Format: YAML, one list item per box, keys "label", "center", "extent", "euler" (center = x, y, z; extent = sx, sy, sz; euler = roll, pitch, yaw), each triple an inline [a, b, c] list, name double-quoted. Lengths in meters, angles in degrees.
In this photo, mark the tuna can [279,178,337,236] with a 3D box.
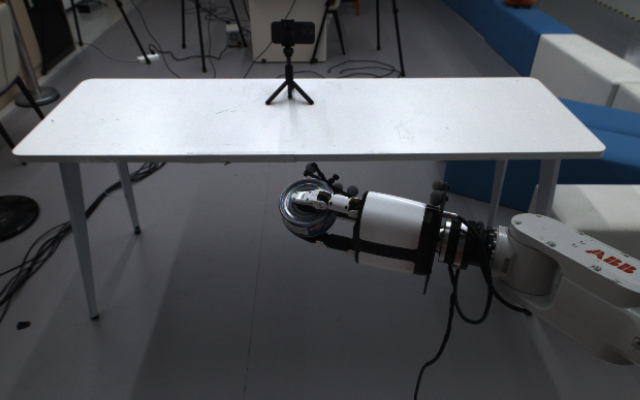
- label: "tuna can"
  center: [-0.016, 0.009, 0.719]
  extent: [0.085, 0.034, 0.085]
  euler: [-4, 58, 6]
